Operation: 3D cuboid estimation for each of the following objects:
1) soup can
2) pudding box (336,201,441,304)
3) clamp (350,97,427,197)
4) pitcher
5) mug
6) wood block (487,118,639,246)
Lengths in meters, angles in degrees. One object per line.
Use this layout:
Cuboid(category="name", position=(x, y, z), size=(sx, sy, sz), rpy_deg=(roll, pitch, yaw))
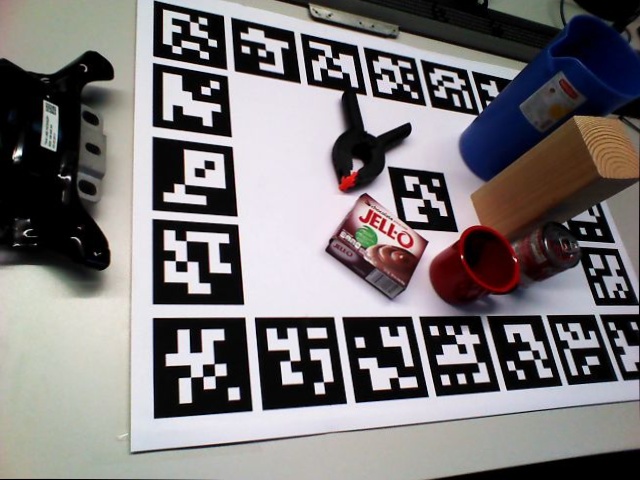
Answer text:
Cuboid(category="soup can", position=(0.322, 0.037, 0.714), size=(0.068, 0.103, 0.067), rpy_deg=(9, 65, -20))
Cuboid(category="pudding box", position=(0.089, 0.015, 0.664), size=(0.114, 0.039, 0.089), rpy_deg=(36, 60, -3))
Cuboid(category="clamp", position=(0.087, -0.128, 0.739), size=(0.122, 0.037, 0.164), rpy_deg=(33, 57, -15))
Cuboid(category="pitcher", position=(0.360, -0.181, 0.756), size=(0.188, 0.244, 0.132), rpy_deg=(1, 63, -21))
Cuboid(category="mug", position=(0.234, 0.055, 0.680), size=(0.117, 0.082, 0.092), rpy_deg=(35, 54, -4))
Cuboid(category="wood block", position=(0.347, -0.065, 0.712), size=(0.089, 0.208, 0.090), rpy_deg=(1, 65, -28))
